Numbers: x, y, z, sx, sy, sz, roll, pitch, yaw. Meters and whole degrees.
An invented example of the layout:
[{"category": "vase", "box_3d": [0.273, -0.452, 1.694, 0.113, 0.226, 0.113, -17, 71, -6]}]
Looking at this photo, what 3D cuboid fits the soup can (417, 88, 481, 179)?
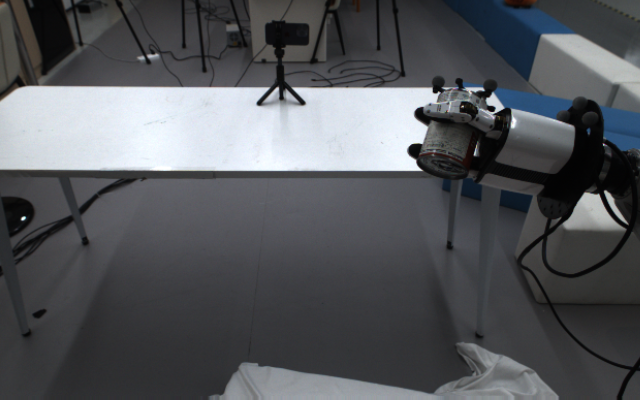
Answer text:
[{"category": "soup can", "box_3d": [0.175, -0.088, 0.639, 0.067, 0.067, 0.101, 15, 75, 18]}]
